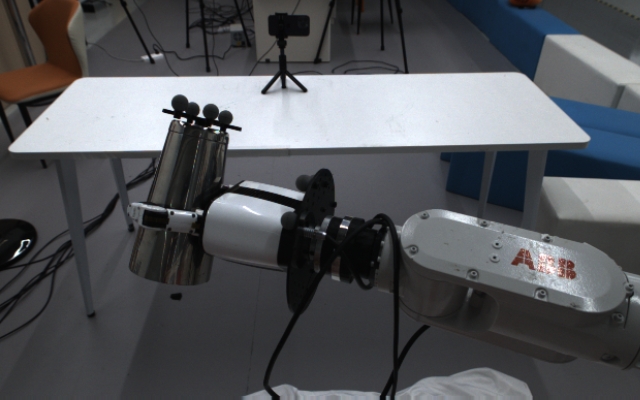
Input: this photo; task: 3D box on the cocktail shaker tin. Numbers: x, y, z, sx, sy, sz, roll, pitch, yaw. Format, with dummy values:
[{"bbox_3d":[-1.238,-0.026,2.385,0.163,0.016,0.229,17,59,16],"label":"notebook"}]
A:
[{"bbox_3d":[-0.152,0.002,0.551,0.093,0.170,0.093,13,4,-1],"label":"cocktail shaker tin"}]
